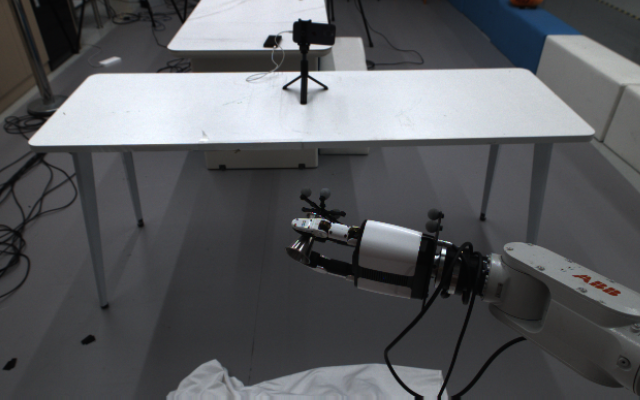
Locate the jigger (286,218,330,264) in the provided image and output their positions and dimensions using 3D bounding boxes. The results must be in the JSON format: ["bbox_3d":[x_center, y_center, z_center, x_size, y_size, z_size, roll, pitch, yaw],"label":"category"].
[{"bbox_3d":[-0.020,0.054,0.738,0.043,0.043,0.071,19,61,23],"label":"jigger"}]
